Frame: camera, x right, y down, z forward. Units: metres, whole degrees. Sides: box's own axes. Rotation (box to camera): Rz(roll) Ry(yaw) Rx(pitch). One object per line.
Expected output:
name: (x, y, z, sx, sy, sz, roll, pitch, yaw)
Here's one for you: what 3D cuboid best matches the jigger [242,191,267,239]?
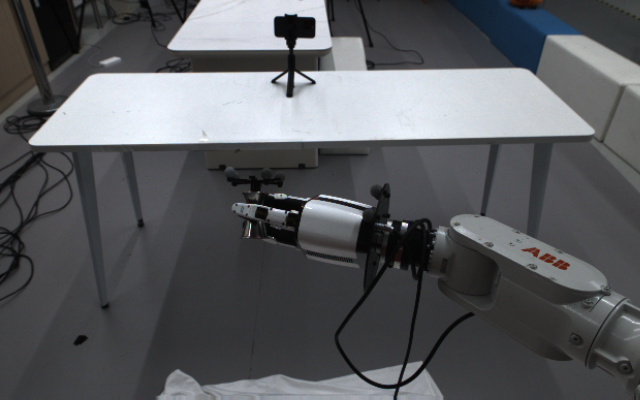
jigger: (-0.097, 0.023, 0.717, 0.043, 0.071, 0.043, 1, -5, 0)
